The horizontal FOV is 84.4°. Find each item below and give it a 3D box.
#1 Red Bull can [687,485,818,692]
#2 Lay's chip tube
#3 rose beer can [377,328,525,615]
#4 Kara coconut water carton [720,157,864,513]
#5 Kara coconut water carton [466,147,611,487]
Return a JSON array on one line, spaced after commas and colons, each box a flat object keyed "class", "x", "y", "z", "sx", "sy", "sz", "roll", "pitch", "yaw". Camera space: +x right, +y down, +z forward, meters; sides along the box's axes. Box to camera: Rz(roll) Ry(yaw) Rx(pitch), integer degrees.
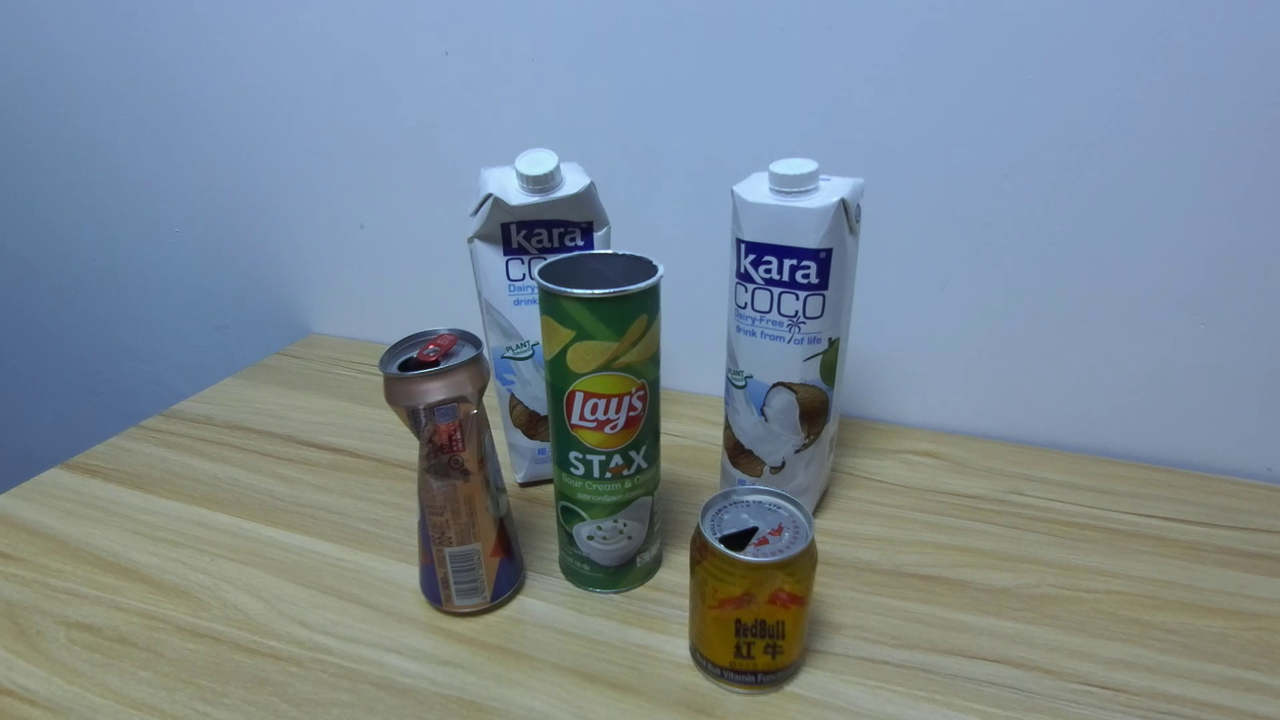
[{"class": "Red Bull can", "x": 0.059, "y": 0.122, "z": 0.379, "sx": 0.069, "sy": 0.092, "sz": 0.069, "roll": 0, "pitch": 26, "yaw": 1}, {"class": "Lay's chip tube", "x": -0.020, "y": 0.040, "z": 0.426, "sx": 0.071, "sy": 0.202, "sz": 0.071, "roll": -1, "pitch": 26, "yaw": 1}, {"class": "rose beer can", "x": -0.110, "y": 0.069, "z": 0.417, "sx": 0.065, "sy": 0.167, "sz": 0.075, "roll": -3, "pitch": 27, "yaw": 3}, {"class": "Kara coconut water carton", "x": 0.099, "y": -0.010, "z": 0.474, "sx": 0.076, "sy": 0.245, "sz": 0.075, "roll": 12, "pitch": 28, "yaw": 25}, {"class": "Kara coconut water carton", "x": -0.070, "y": -0.036, "z": 0.538, "sx": 0.100, "sy": 0.244, "sz": 0.071, "roll": -9, "pitch": 34, "yaw": -11}]
